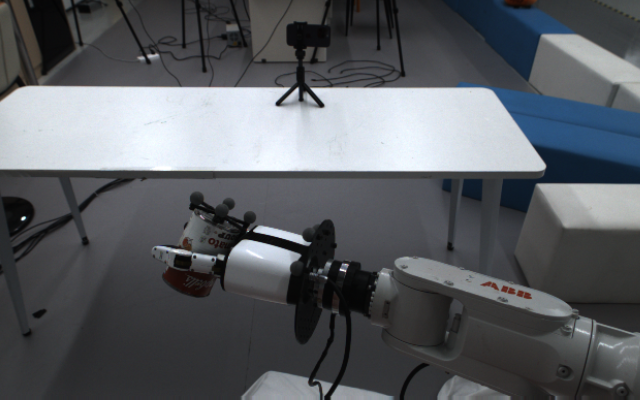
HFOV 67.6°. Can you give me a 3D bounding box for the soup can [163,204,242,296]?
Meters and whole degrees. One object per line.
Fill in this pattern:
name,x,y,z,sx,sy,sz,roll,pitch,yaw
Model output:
soup can,-0.156,0.070,0.640,0.067,0.101,0.067,27,6,-3
